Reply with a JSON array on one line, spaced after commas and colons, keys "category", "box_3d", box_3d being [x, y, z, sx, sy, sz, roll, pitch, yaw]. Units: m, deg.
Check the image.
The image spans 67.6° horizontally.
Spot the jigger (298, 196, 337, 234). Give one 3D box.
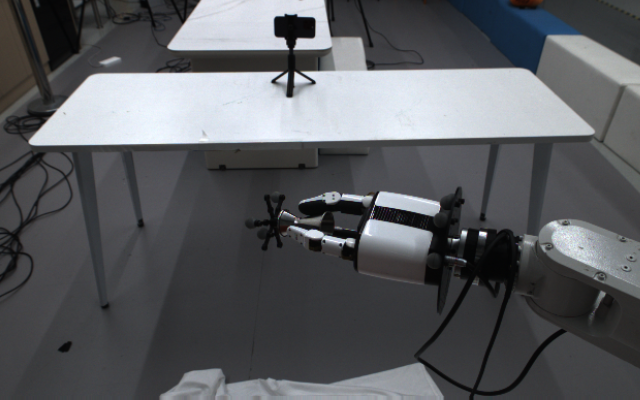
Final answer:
[{"category": "jigger", "box_3d": [-0.012, 0.028, 0.665, 0.071, 0.043, 0.043, 3, 32, 26]}]
